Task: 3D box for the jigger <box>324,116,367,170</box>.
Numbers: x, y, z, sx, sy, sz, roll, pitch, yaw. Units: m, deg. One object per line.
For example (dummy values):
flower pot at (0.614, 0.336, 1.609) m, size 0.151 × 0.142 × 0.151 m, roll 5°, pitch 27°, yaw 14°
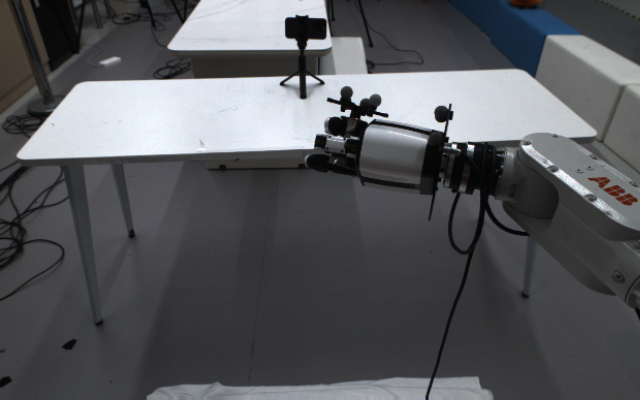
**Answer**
jigger at (0.039, -0.081, 0.682) m, size 0.043 × 0.071 × 0.043 m, roll 17°, pitch 2°, yaw -1°
